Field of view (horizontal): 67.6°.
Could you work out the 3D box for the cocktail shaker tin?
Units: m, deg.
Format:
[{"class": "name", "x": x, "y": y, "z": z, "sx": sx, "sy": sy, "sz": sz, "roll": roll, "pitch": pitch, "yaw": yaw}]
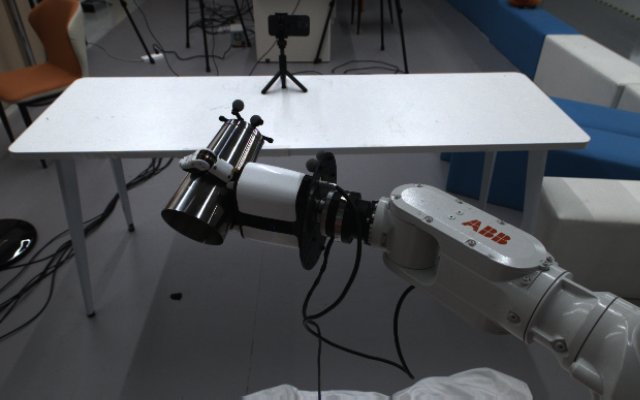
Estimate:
[{"class": "cocktail shaker tin", "x": -0.145, "y": -0.030, "z": 0.690, "sx": 0.093, "sy": 0.093, "sz": 0.170, "roll": 14, "pitch": 61, "yaw": 17}]
